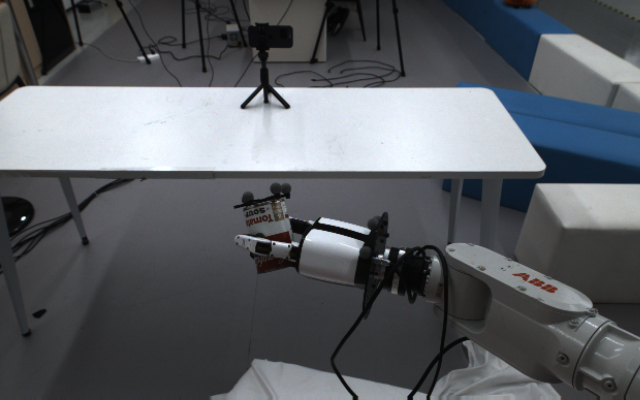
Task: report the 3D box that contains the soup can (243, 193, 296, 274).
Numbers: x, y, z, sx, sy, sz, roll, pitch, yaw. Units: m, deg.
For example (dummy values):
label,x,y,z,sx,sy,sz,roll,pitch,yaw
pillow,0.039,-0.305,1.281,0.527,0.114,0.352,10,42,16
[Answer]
label,x,y,z,sx,sy,sz,roll,pitch,yaw
soup can,-0.074,0.056,0.739,0.067,0.101,0.067,-14,-2,-1
